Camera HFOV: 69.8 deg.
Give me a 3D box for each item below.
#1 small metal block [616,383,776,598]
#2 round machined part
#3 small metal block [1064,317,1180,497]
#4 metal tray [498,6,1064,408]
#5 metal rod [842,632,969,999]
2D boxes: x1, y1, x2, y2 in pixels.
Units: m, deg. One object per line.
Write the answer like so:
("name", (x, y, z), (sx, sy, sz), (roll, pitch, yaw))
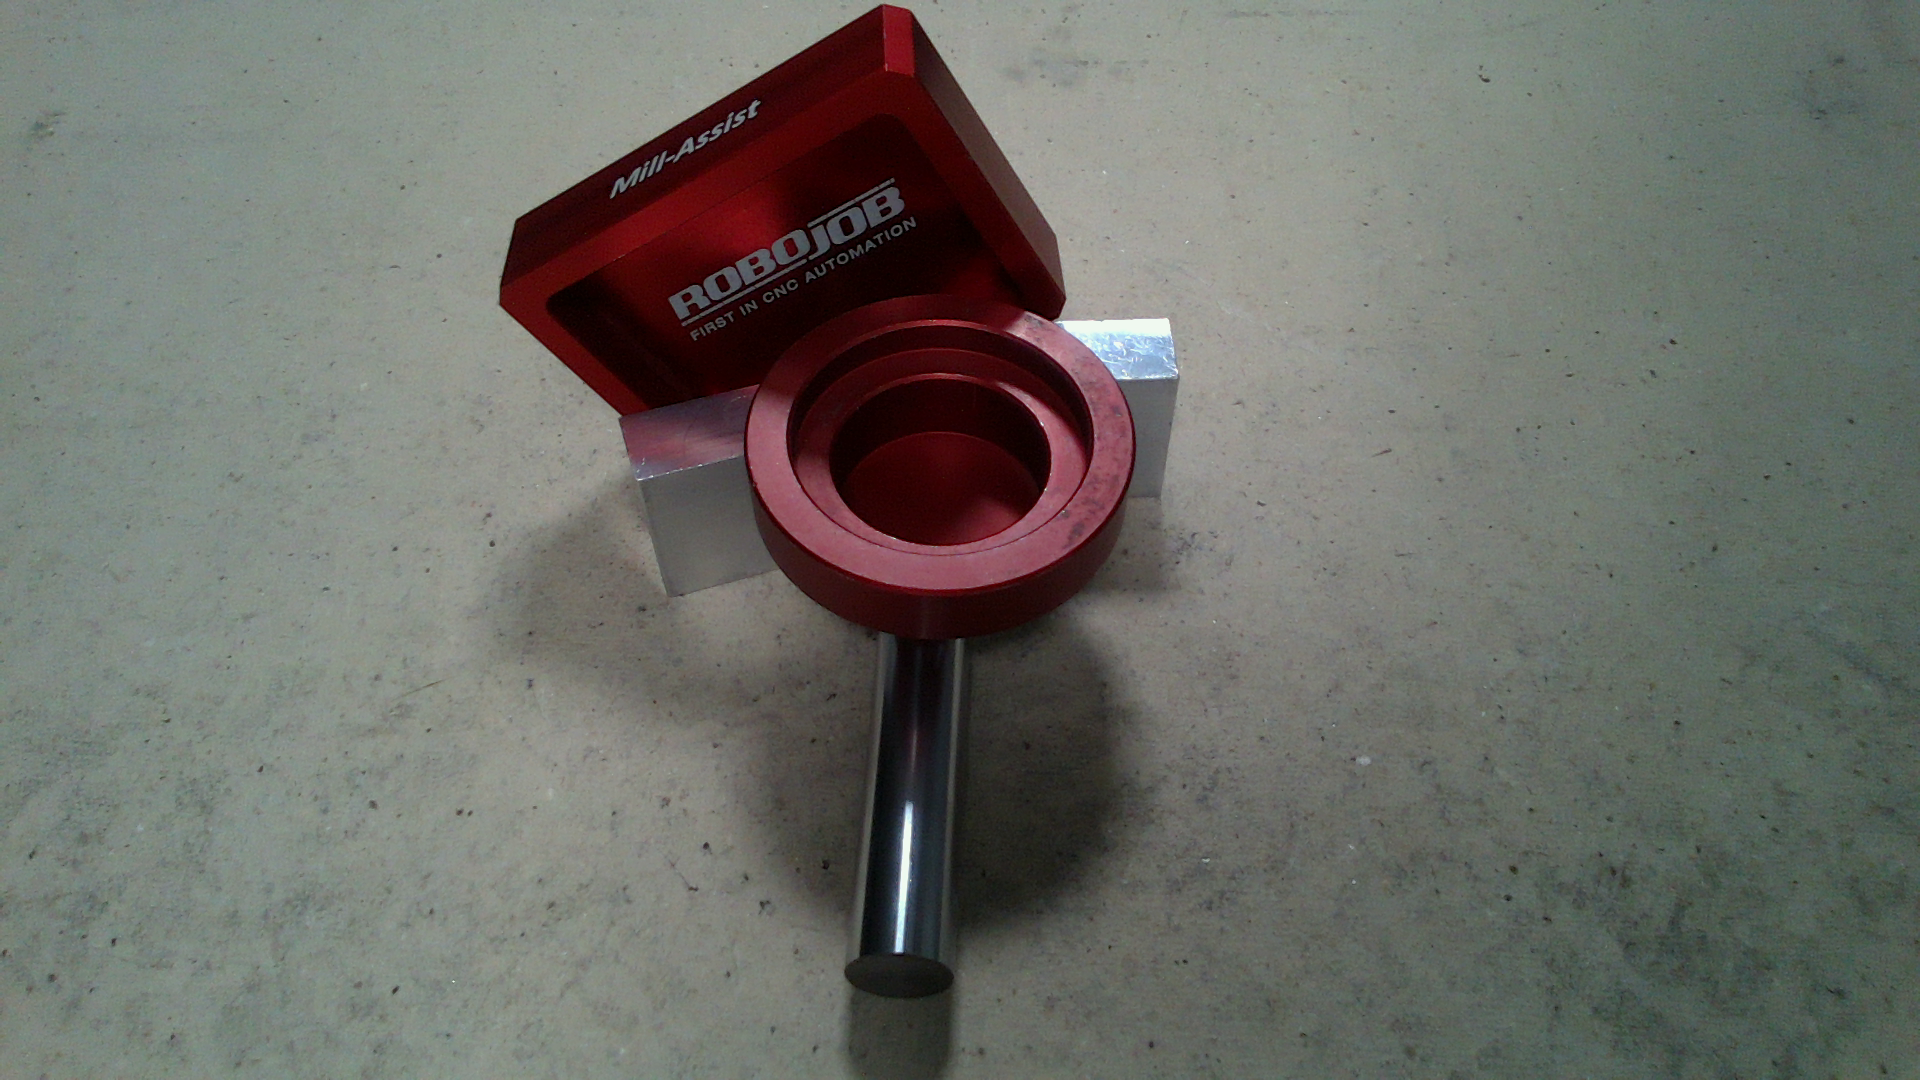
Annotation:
("small metal block", (-0.065, -0.015, 0.388), (0.050, 0.050, 0.025), (-15, 51, -12))
("round machined part", (-0.005, -0.016, 0.358), (0.098, 0.042, 0.098), (1, 53, -1))
("small metal block", (0.036, -0.038, 0.408), (0.050, 0.050, 0.025), (-1, 50, -1))
("metal tray", (-0.048, -0.075, 0.382), (0.130, 0.090, 0.030), (-23, 45, 20))
("metal rod", (-0.008, -0.016, 0.406), (0.025, 0.025, 0.300), (2, 50, 2))
